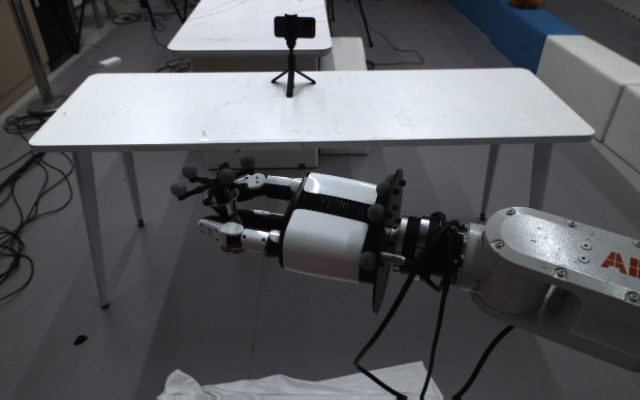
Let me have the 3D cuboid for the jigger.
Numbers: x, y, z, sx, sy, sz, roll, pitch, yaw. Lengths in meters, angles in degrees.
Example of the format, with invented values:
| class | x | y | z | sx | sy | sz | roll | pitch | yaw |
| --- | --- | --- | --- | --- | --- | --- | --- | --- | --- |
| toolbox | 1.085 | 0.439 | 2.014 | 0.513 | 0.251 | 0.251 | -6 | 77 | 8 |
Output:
| class | x | y | z | sx | sy | sz | roll | pitch | yaw |
| --- | --- | --- | --- | --- | --- | --- | --- | --- | --- |
| jigger | -0.103 | 0.024 | 0.566 | 0.043 | 0.071 | 0.043 | -10 | 32 | 6 |
